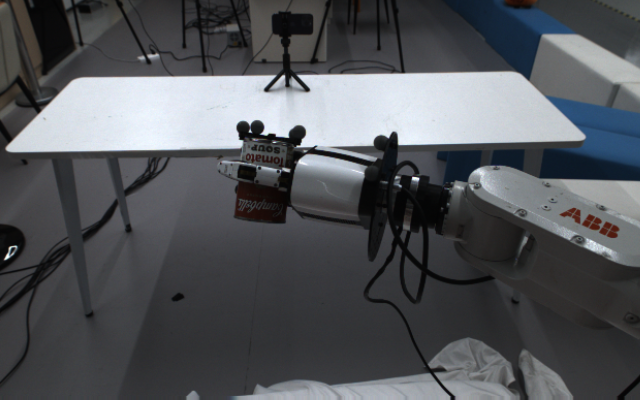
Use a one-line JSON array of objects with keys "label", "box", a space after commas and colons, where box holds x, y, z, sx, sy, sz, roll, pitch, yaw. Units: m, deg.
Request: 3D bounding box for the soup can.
[{"label": "soup can", "box": [-0.070, -0.024, 0.620, 0.067, 0.101, 0.067, 7, 3, 0]}]
